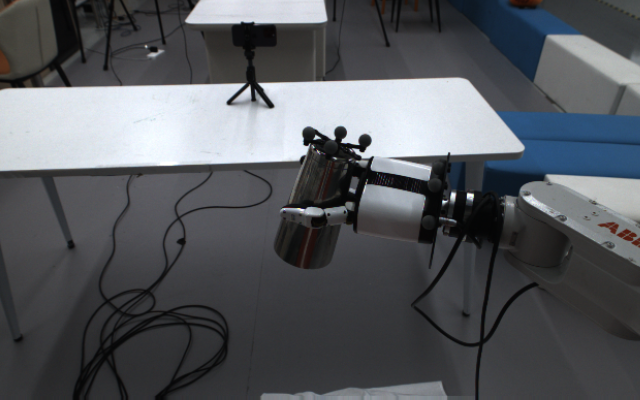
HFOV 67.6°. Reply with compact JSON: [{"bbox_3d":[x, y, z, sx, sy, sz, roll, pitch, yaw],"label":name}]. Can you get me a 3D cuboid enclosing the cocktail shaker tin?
[{"bbox_3d":[-0.001,0.002,0.687,0.093,0.170,0.093,12,29,-7],"label":"cocktail shaker tin"}]
